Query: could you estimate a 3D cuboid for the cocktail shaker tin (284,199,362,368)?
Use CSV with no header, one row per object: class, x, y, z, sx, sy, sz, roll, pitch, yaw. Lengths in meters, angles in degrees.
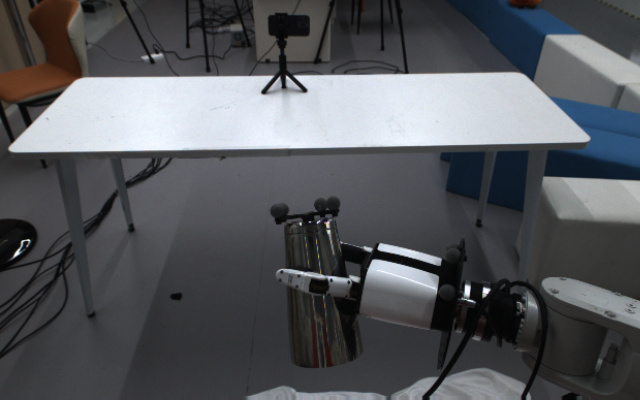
cocktail shaker tin,-0.001,0.111,0.609,0.093,0.170,0.093,-8,1,0
